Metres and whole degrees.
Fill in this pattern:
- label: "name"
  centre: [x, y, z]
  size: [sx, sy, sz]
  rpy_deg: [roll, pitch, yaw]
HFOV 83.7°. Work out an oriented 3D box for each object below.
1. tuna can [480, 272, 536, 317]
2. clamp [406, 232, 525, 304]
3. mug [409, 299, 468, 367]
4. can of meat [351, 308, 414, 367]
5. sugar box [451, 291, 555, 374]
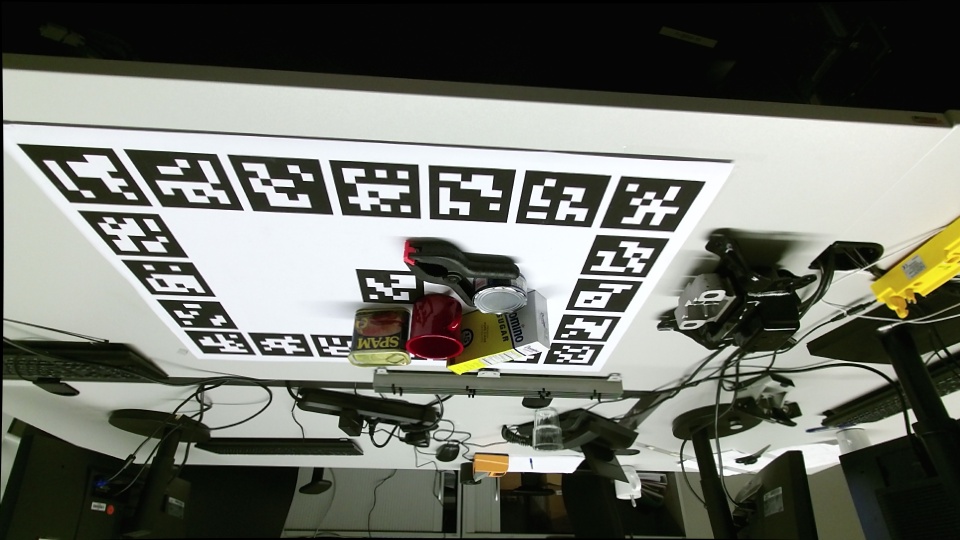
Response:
- label: "tuna can"
  centre: [0.042, 0.034, 0.816]
  size: [0.086, 0.033, 0.086]
  rpy_deg: [0, 142, 0]
- label: "clamp"
  centre: [-0.032, -0.006, 0.770]
  size: [0.166, 0.036, 0.122]
  rpy_deg: [29, 140, -27]
- label: "mug"
  centre: [-0.059, 0.093, 0.854]
  size: [0.094, 0.081, 0.117]
  rpy_deg: [19, 139, -22]
- label: "can of meat"
  centre: [-0.162, 0.113, 0.895]
  size: [0.102, 0.083, 0.058]
  rpy_deg: [-2, 145, 5]
- label: "sugar box"
  centre: [0.033, 0.104, 0.873]
  size: [0.177, 0.092, 0.045]
  rpy_deg: [-21, 141, 28]
